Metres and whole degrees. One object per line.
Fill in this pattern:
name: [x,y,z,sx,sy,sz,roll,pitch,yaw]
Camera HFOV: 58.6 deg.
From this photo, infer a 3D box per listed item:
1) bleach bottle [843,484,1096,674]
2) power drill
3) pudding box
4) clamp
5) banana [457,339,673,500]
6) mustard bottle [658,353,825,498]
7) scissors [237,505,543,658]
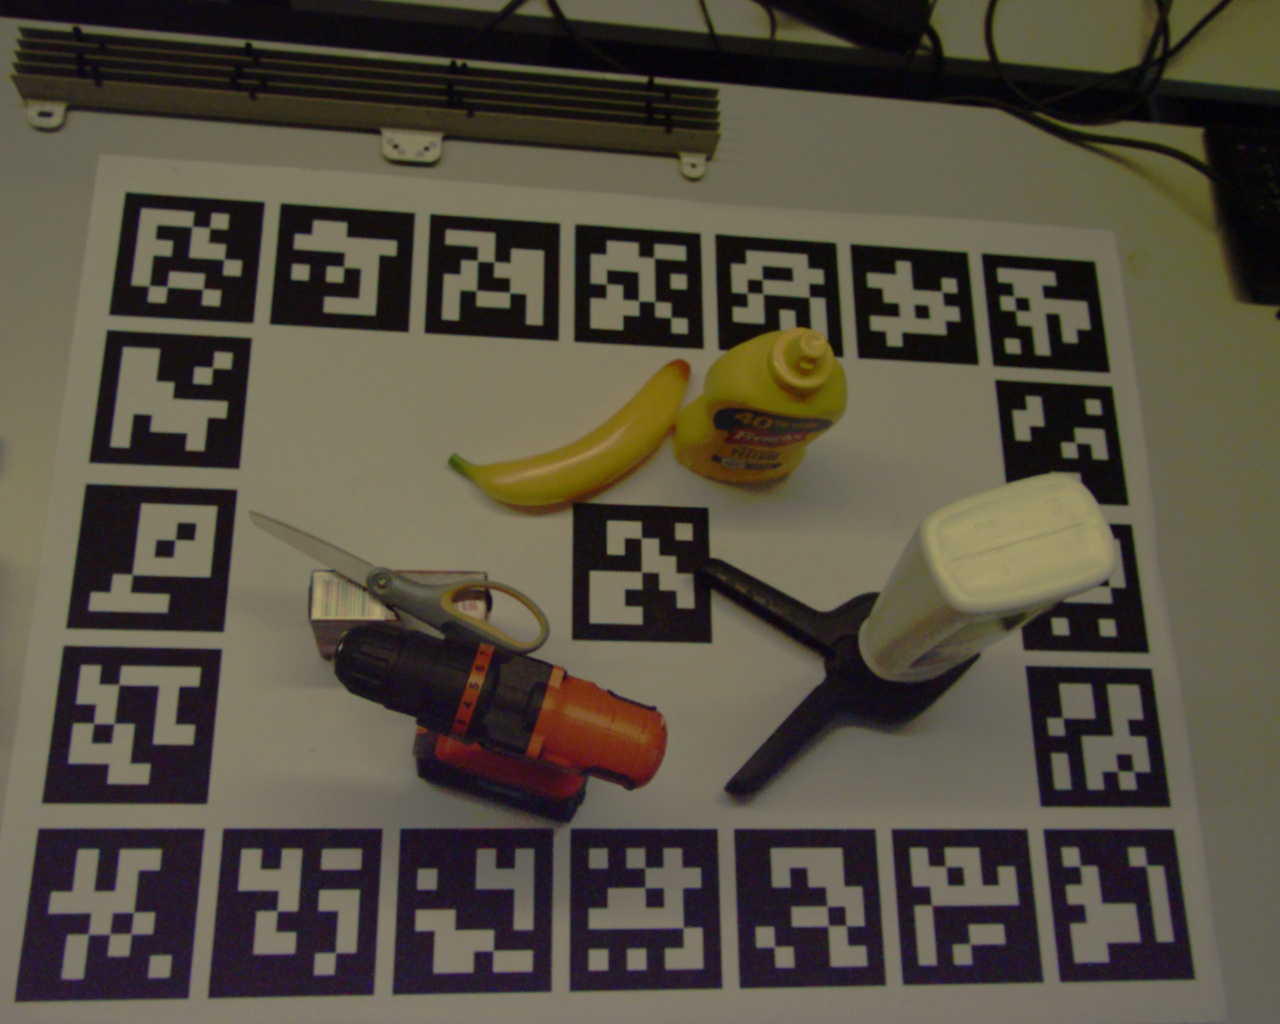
bleach bottle: [0.194,0.060,0.740,0.102,0.250,0.068,-18,74,-7]
power drill: [-0.095,0.133,0.690,0.184,0.187,0.057,14,65,-2]
pudding box: [-0.167,0.071,0.779,0.113,0.090,0.039,6,66,-8]
clamp: [0.142,0.103,0.829,0.201,0.037,0.166,-4,76,-12]
banana: [-0.040,-0.064,0.860,0.196,0.038,0.075,-38,66,-17]
mustard bottle: [0.078,-0.065,0.809,0.096,0.192,0.058,16,71,-6]
scissors: [-0.165,0.046,0.719,0.202,0.016,0.087,27,75,-5]
